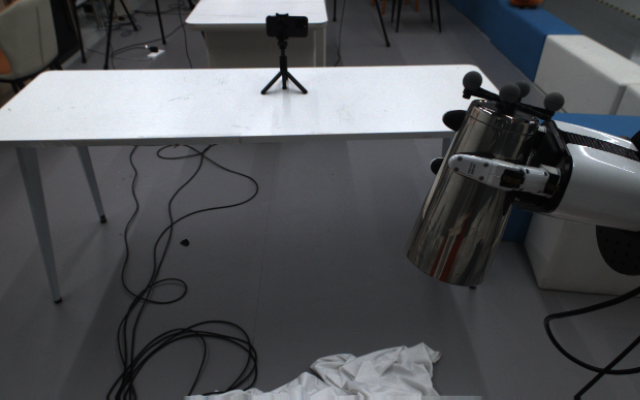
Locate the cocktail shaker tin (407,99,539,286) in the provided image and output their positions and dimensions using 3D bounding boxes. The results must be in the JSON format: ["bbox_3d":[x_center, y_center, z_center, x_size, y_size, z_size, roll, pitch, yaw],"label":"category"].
[{"bbox_3d":[0.159,-0.012,0.495,0.093,0.170,0.093,12,25,-6],"label":"cocktail shaker tin"}]
